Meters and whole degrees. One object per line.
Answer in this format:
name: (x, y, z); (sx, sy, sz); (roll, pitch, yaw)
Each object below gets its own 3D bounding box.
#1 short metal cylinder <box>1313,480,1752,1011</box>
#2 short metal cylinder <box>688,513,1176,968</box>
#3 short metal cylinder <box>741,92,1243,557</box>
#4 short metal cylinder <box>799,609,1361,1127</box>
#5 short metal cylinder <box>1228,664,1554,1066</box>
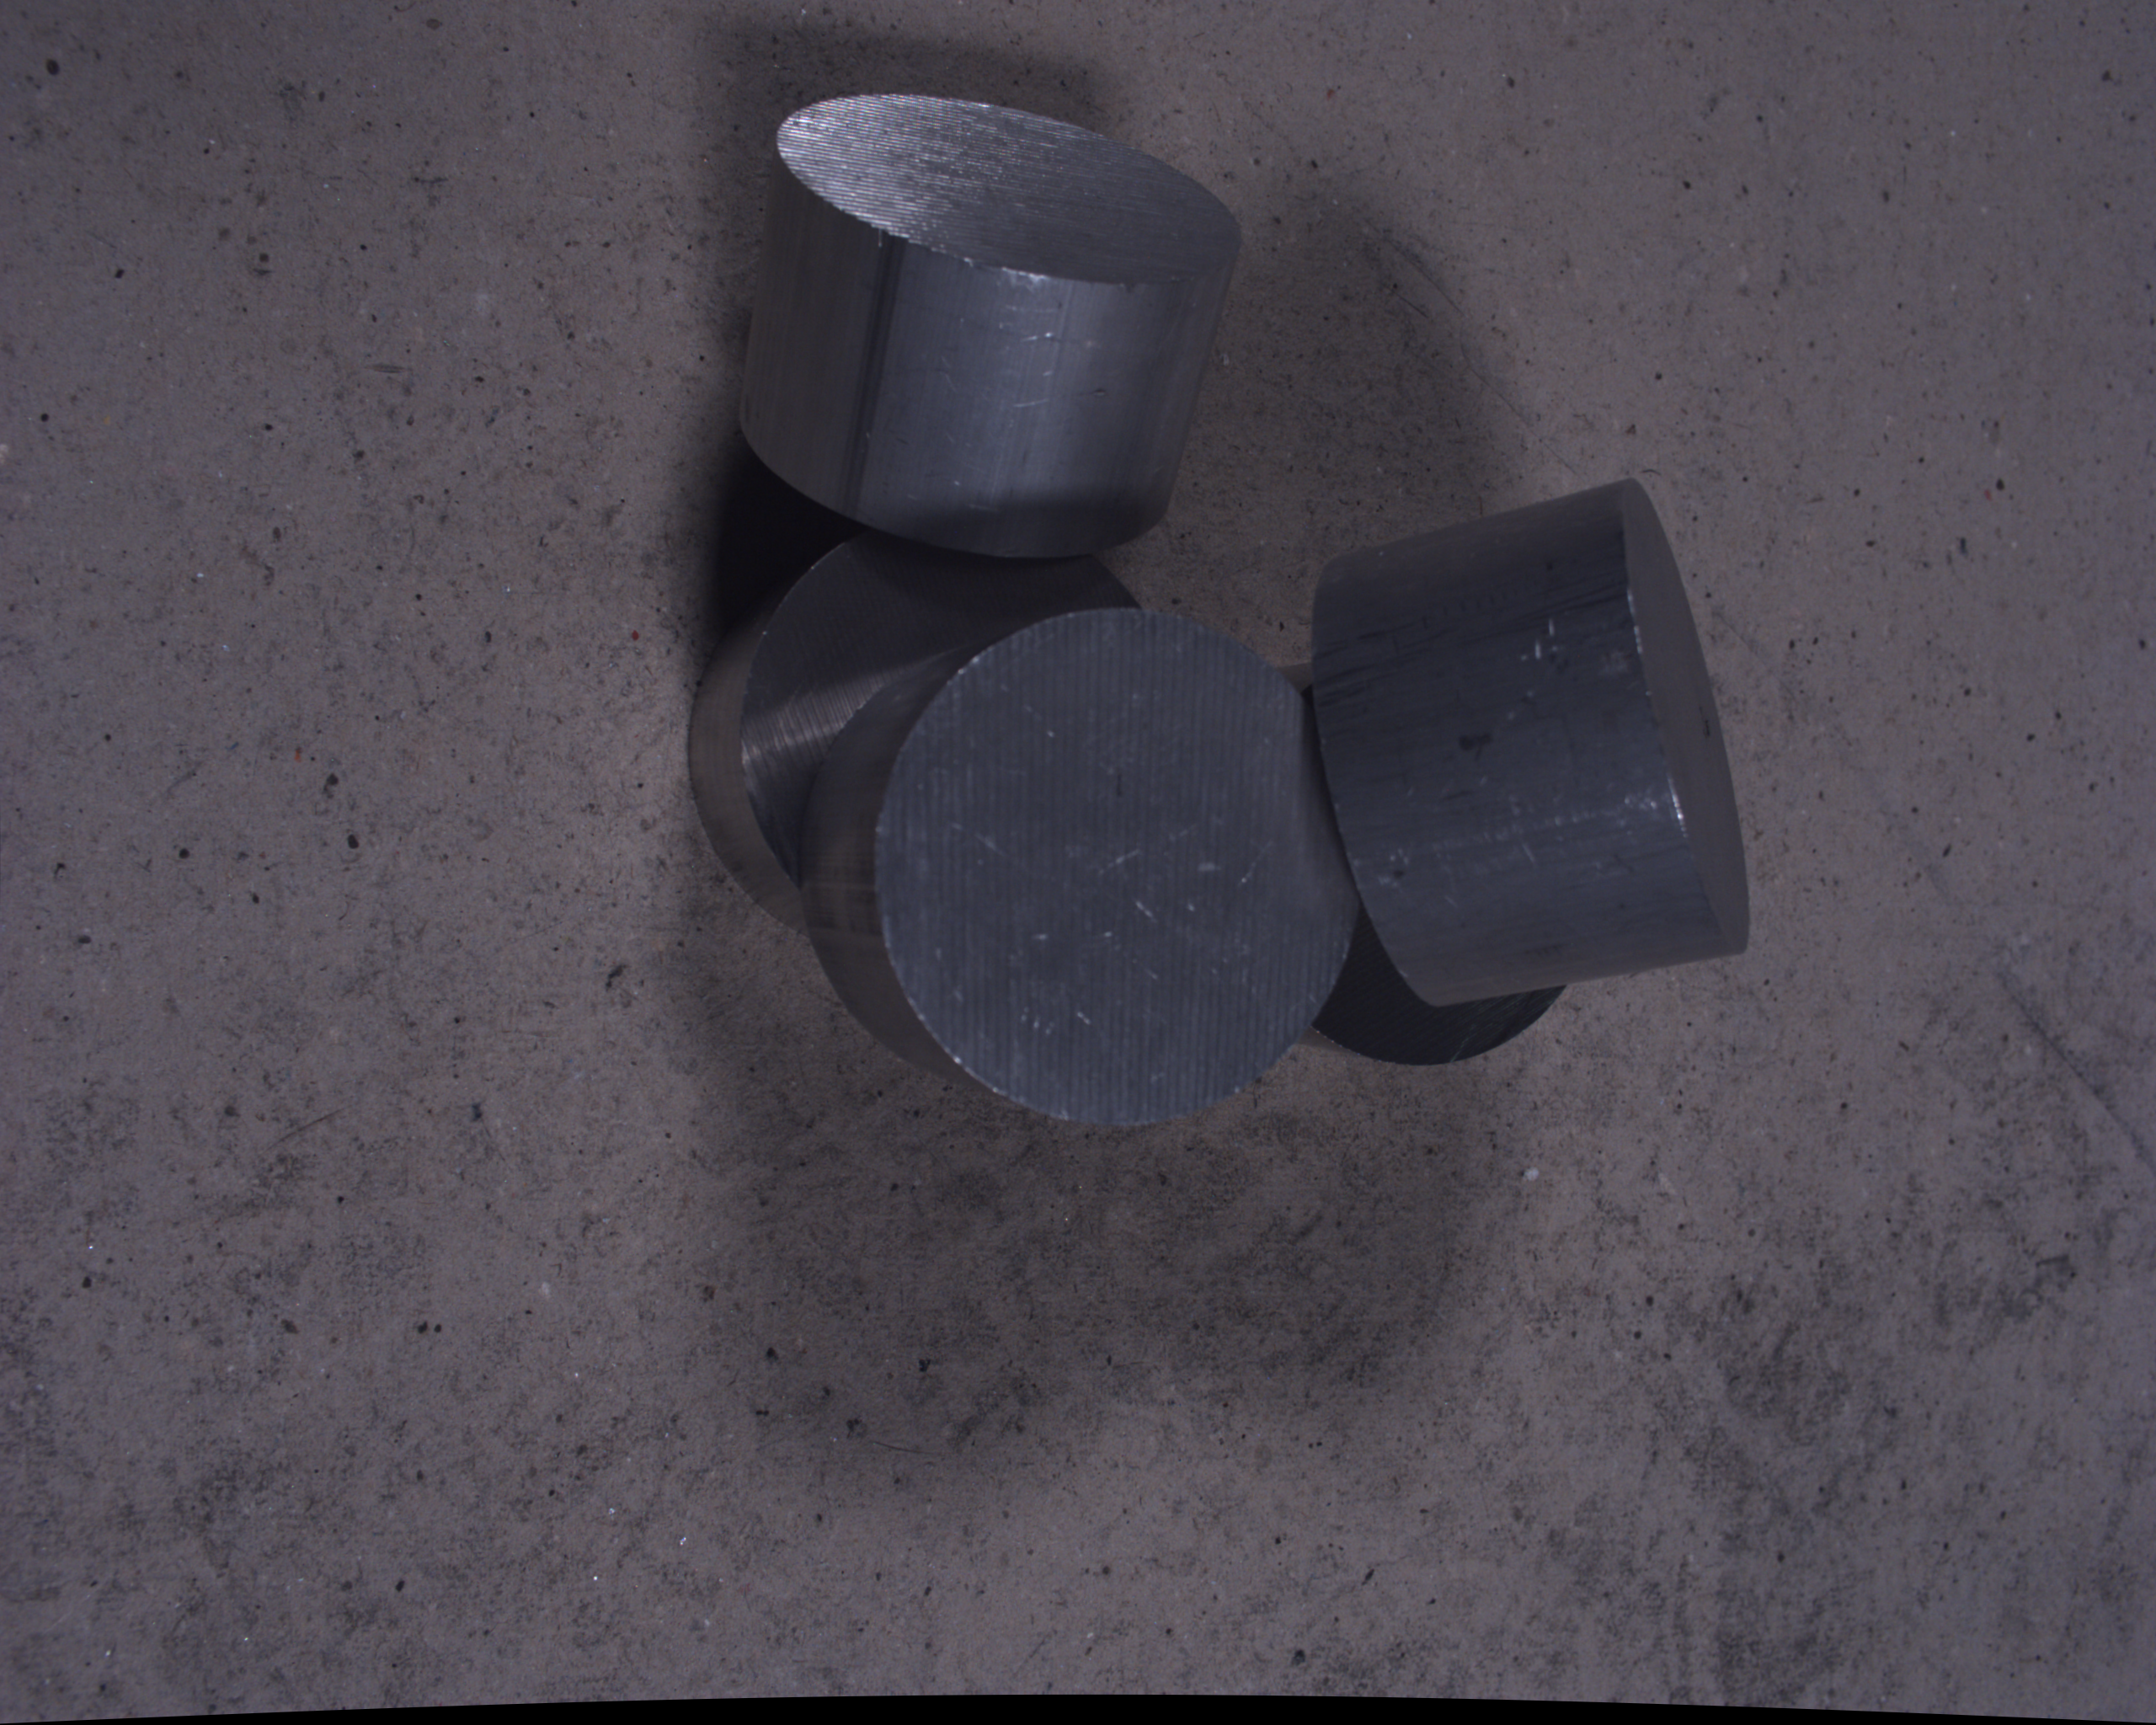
short metal cylinder: (0.078, -0.019, 0.350); (0.050, 0.080, 0.080); (-13, 97, 23)
short metal cylinder: (-0.028, -0.021, 0.387); (0.081, 0.050, 0.079); (0, 90, -21)
short metal cylinder: (-0.016, -0.096, 0.369); (0.081, 0.080, 0.050); (0, 129, -20)
short metal cylinder: (-0.001, 0.001, 0.344); (0.081, 0.050, 0.079); (0, 90, -21)
short metal cylinder: (0.057, -0.001, 0.419); (0.081, 0.050, 0.079); (0, 90, -21)
